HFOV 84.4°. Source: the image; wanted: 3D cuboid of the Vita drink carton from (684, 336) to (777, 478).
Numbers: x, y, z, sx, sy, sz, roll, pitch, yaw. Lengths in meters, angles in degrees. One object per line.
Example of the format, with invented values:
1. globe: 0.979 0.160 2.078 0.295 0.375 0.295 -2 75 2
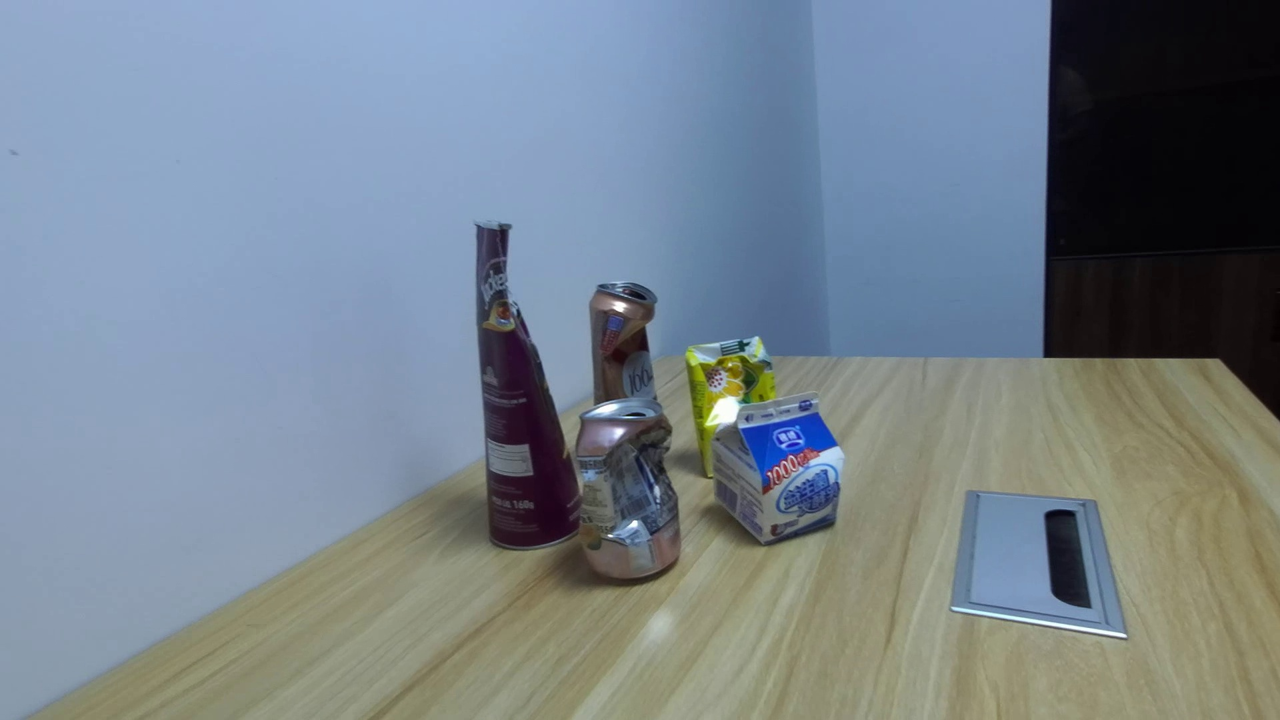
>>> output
1. Vita drink carton: 0.080 0.040 0.602 0.071 0.109 0.046 -8 10 1

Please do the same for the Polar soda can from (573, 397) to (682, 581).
1. Polar soda can: -0.008 0.083 0.466 0.070 0.114 0.074 -4 16 -14

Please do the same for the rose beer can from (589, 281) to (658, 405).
1. rose beer can: -0.014 0.016 0.635 0.070 0.168 0.069 -8 18 -22

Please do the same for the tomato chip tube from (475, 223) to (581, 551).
1. tomato chip tube: -0.091 0.017 0.519 0.077 0.235 0.090 1 12 27

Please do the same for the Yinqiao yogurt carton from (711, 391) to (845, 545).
1. Yinqiao yogurt carton: 0.100 0.070 0.500 0.075 0.097 0.080 -11 21 -22
